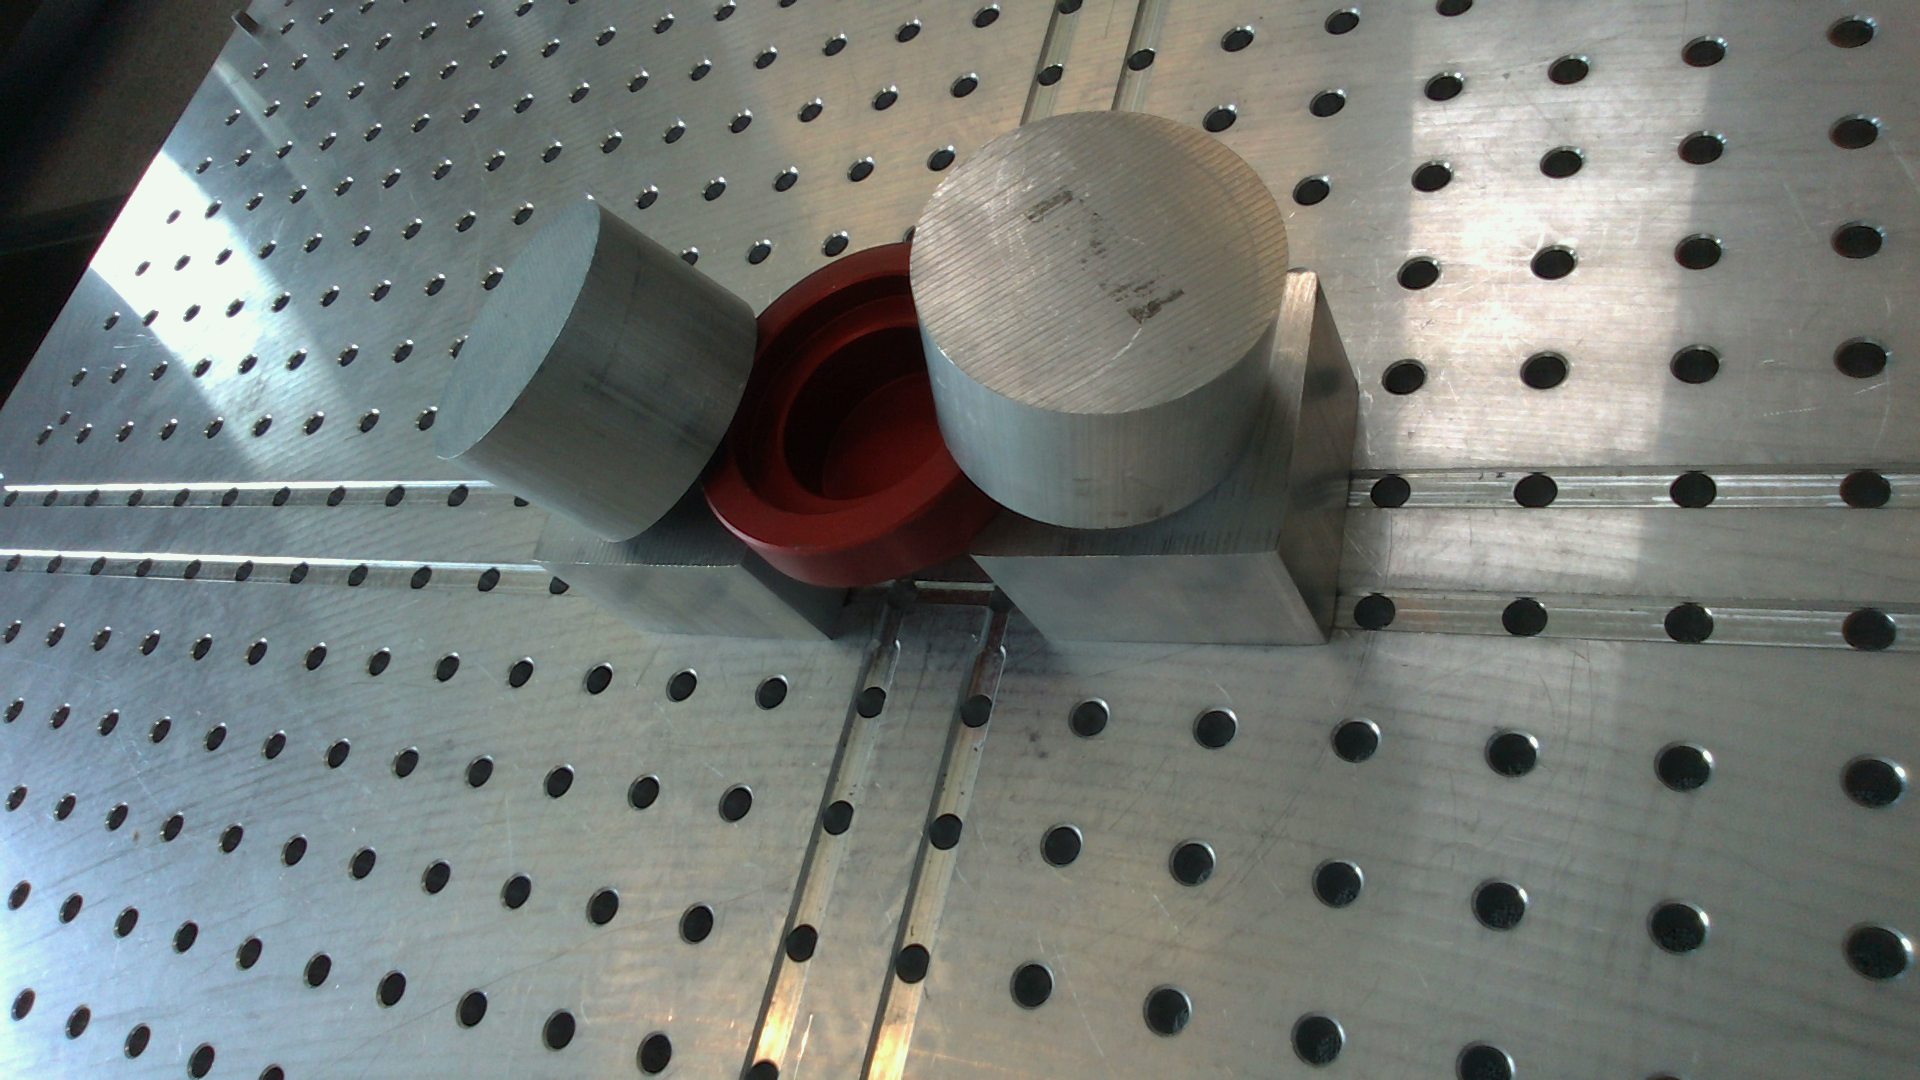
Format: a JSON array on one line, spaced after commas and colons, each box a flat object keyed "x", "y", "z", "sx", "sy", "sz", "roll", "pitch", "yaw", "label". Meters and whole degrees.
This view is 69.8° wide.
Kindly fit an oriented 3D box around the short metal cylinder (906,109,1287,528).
[{"x": 0.031, "y": -0.050, "z": 0.313, "sx": 0.080, "sy": 0.050, "sz": 0.080, "roll": -2, "pitch": 63, "yaw": 5, "label": "short metal cylinder"}]

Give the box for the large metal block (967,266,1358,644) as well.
[{"x": 0.056, "y": -0.020, "z": 0.363, "sx": 0.080, "sy": 0.050, "sz": 0.080, "roll": -1, "pitch": 61, "yaw": 28, "label": "large metal block"}]

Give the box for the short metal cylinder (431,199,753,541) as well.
[{"x": -0.102, "y": -0.046, "z": 0.383, "sx": 0.080, "sy": 0.050, "sz": 0.080, "roll": -32, "pitch": 42, "yaw": 35, "label": "short metal cylinder"}]

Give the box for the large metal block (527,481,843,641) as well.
[{"x": -0.076, "y": -0.017, "z": 0.432, "sx": 0.080, "sy": 0.050, "sz": 0.080, "roll": 1, "pitch": 62, "yaw": 29, "label": "large metal block"}]

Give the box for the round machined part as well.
[{"x": -0.020, "y": -0.031, "z": 0.378, "sx": 0.098, "sy": 0.042, "sz": 0.098, "roll": -13, "pitch": 56, "yaw": 21, "label": "round machined part"}]
